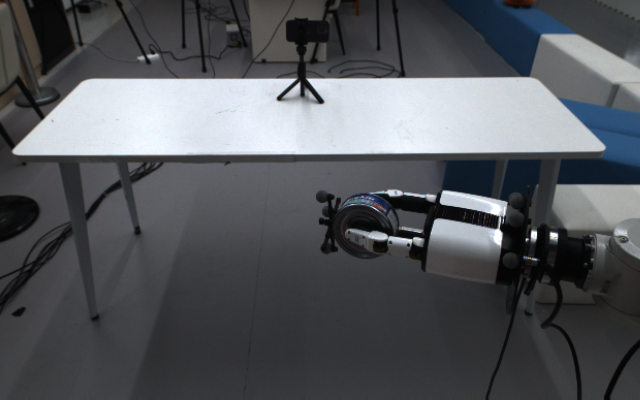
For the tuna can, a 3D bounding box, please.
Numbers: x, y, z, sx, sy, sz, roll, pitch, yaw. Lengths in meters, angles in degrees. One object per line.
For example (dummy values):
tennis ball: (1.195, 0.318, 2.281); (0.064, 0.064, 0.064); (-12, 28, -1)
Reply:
tuna can: (0.064, 0.038, 0.647); (0.085, 0.085, 0.034); (12, 28, 14)
